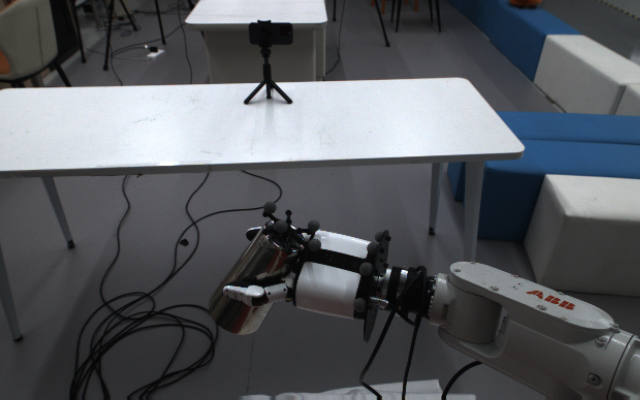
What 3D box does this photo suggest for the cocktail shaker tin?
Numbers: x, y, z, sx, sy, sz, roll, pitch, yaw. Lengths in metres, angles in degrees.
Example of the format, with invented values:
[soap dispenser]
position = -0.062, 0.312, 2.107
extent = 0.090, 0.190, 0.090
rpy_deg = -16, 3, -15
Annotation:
[cocktail shaker tin]
position = -0.089, 0.106, 0.713
extent = 0.093, 0.170, 0.093
rpy_deg = 26, 32, -18
